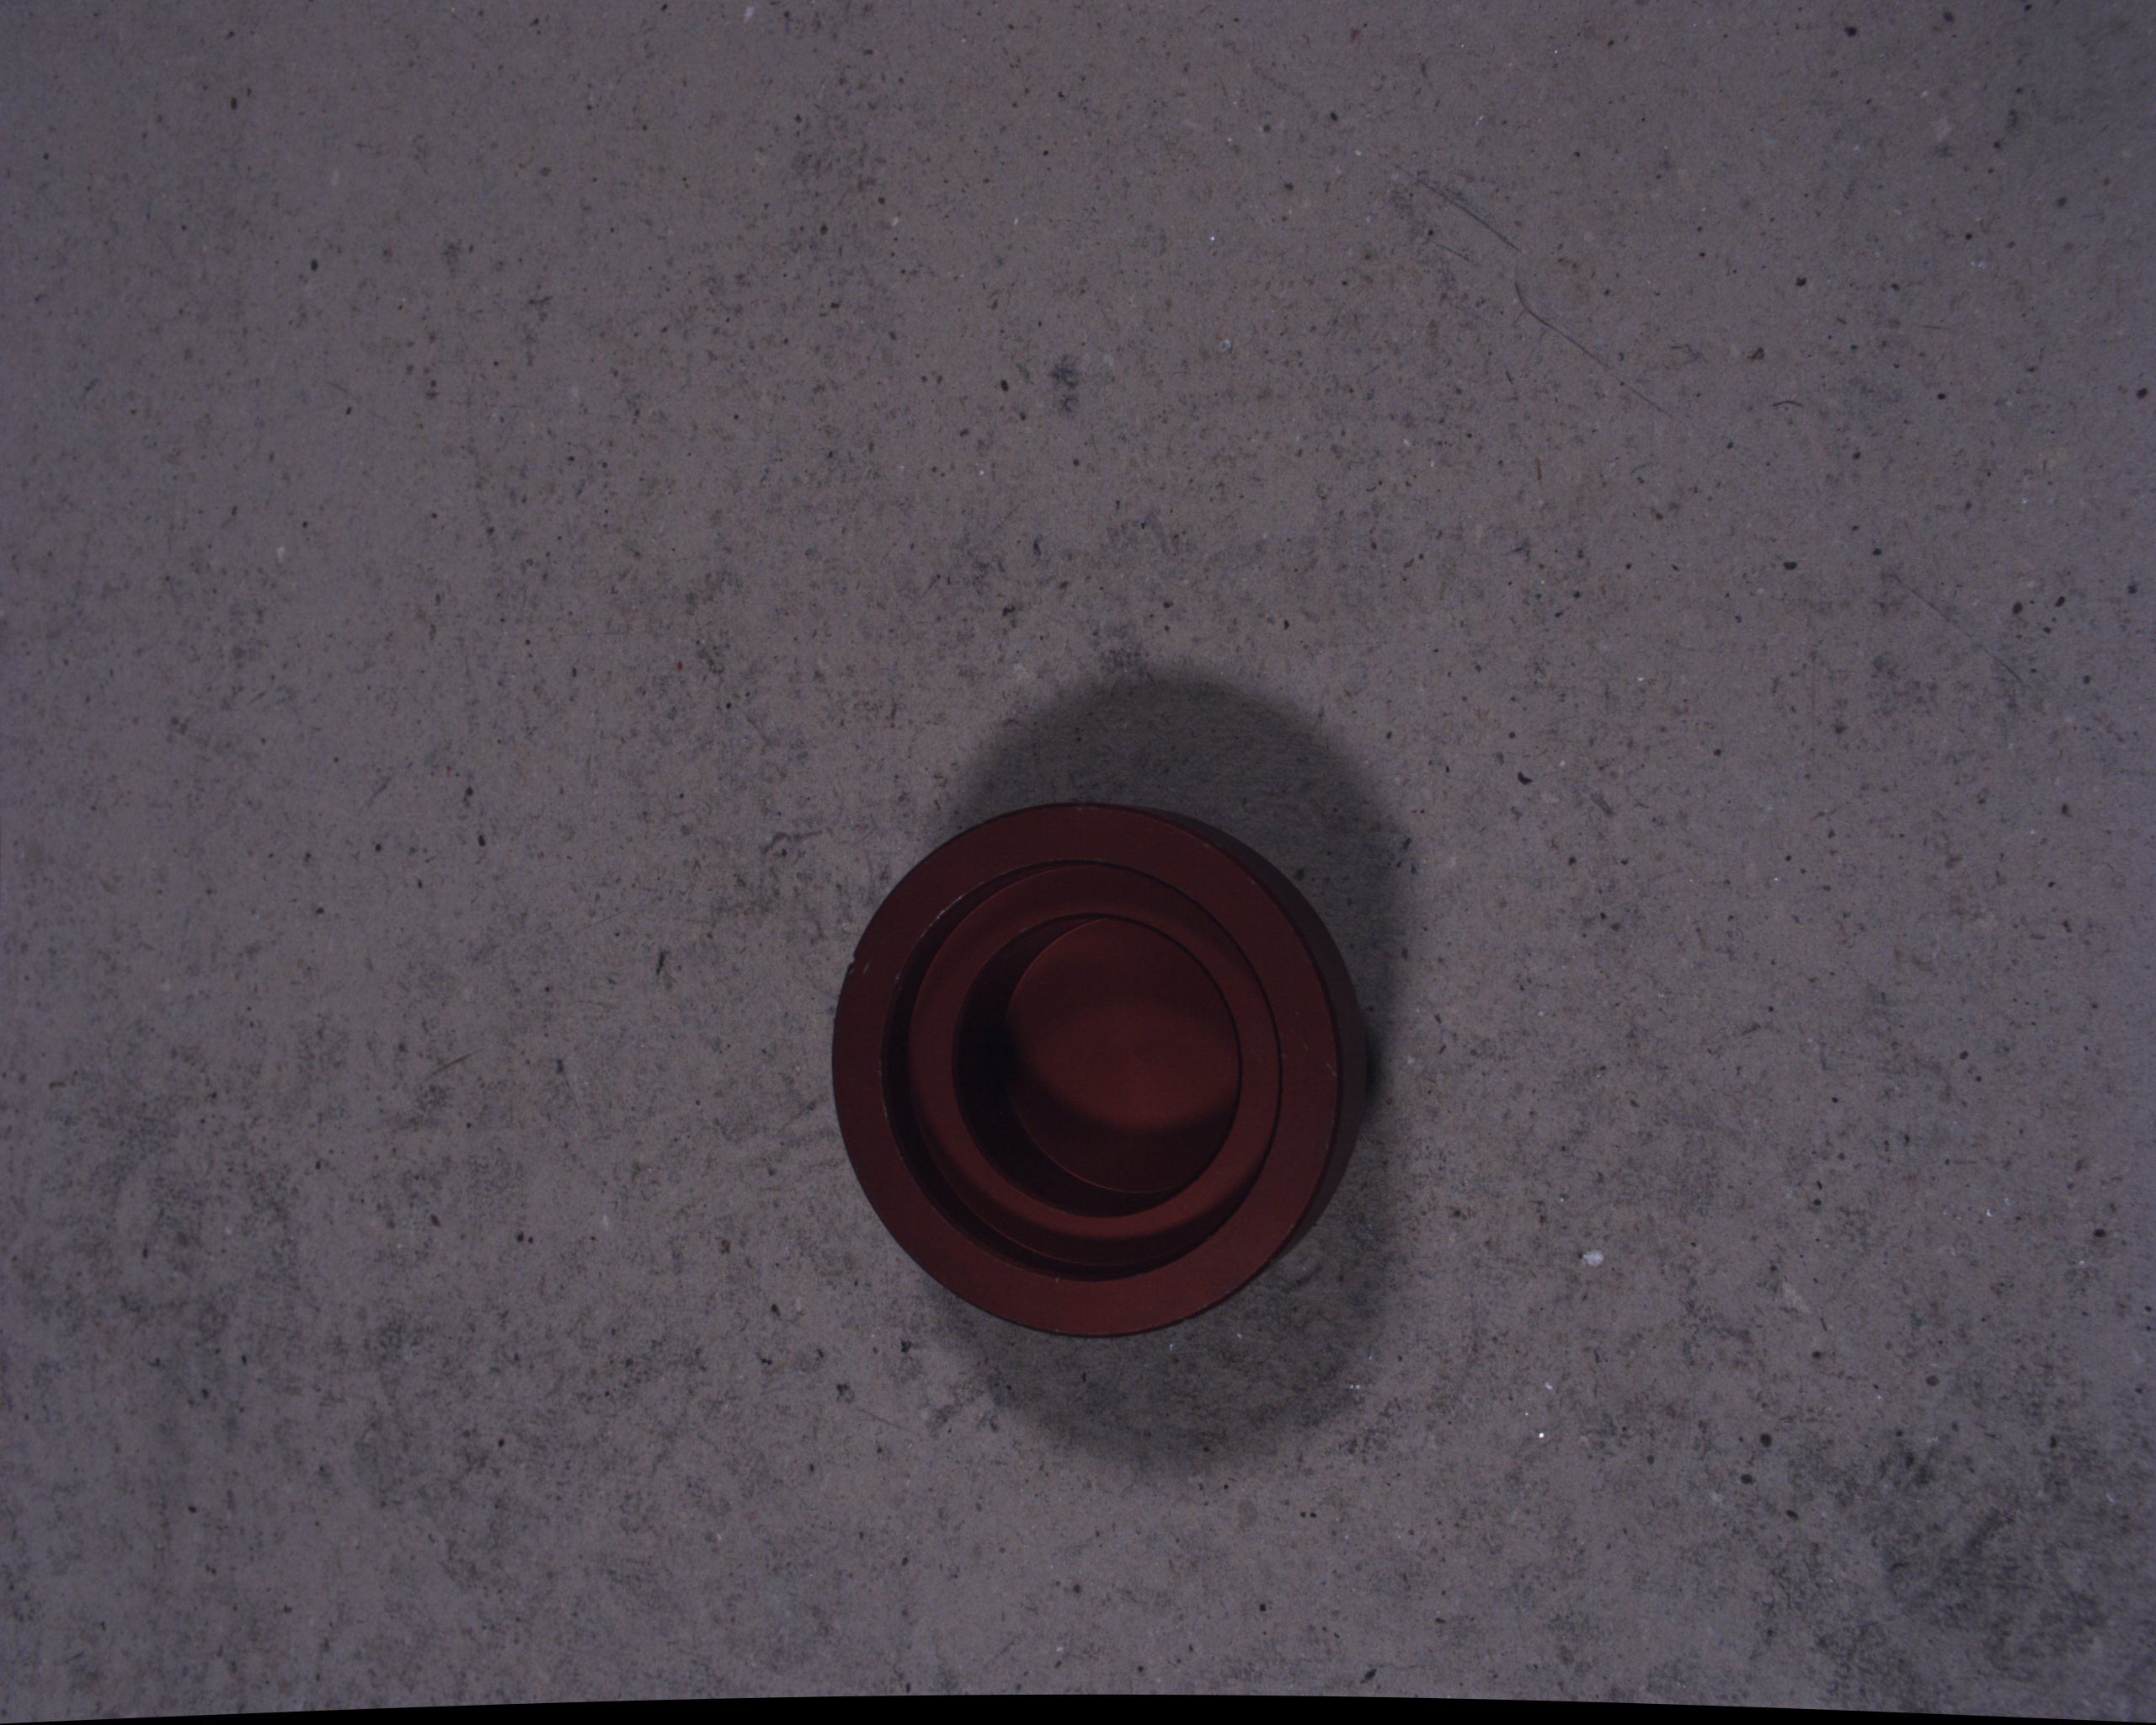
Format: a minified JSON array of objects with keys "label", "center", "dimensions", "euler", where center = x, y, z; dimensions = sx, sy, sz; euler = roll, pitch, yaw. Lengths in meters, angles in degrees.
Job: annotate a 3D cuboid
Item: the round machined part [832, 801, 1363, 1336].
[{"label":"round machined part","center":[0.006,0.037,0.398],"dimensions":[0.098,0.042,0.097],"euler":[0,90,19]}]
